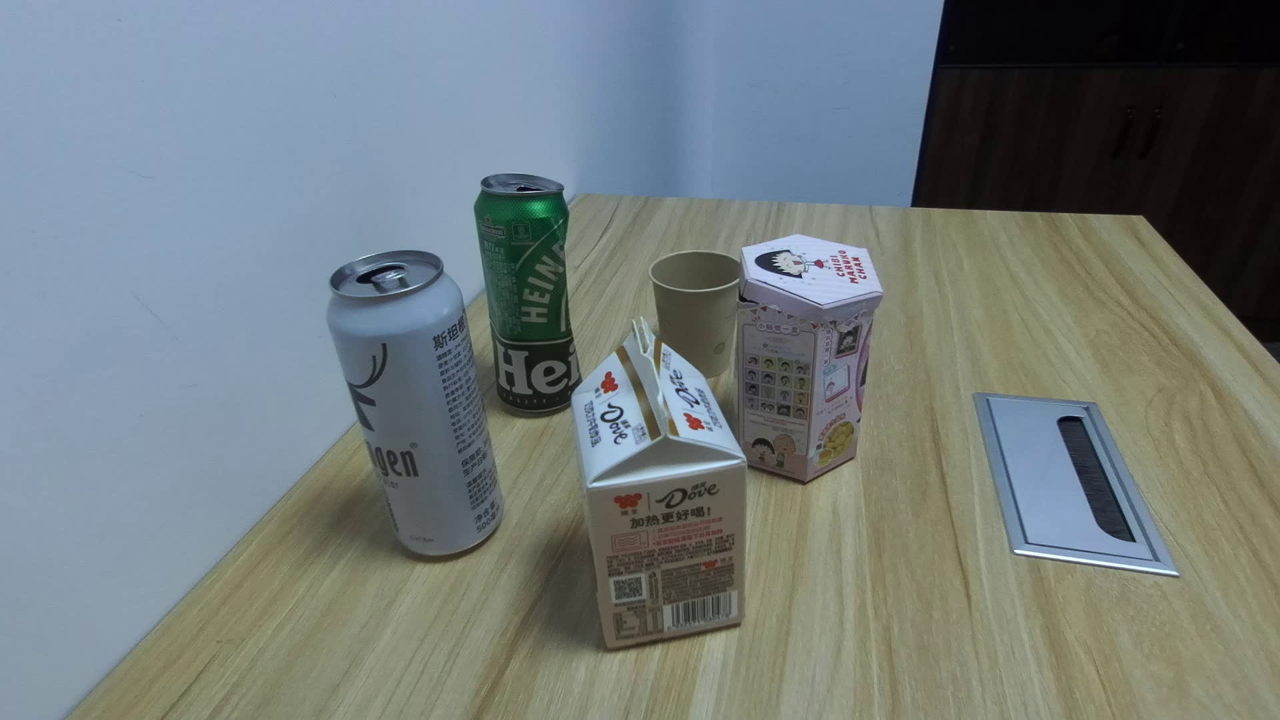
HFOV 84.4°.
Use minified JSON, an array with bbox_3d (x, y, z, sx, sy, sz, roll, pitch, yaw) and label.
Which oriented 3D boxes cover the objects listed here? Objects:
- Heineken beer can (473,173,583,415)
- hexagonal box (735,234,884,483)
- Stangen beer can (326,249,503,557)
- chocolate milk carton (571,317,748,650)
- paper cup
[{"bbox_3d":[-0.076,-0.043,0.505,0.069,0.168,0.068,7,28,13],"label":"Heineken beer can"},{"bbox_3d":[0.099,-0.001,0.447,0.085,0.135,0.092,-1,31,2],"label":"hexagonal box"},{"bbox_3d":[-0.119,0.029,0.390,0.067,0.171,0.067,-3,31,2],"label":"Stangen beer can"},{"bbox_3d":[0.008,0.059,0.347,0.074,0.148,0.075,-8,31,-7],"label":"chocolate milk carton"},{"bbox_3d":[0.046,-0.032,0.553,0.075,0.082,0.075,-2,30,1],"label":"paper cup"}]
